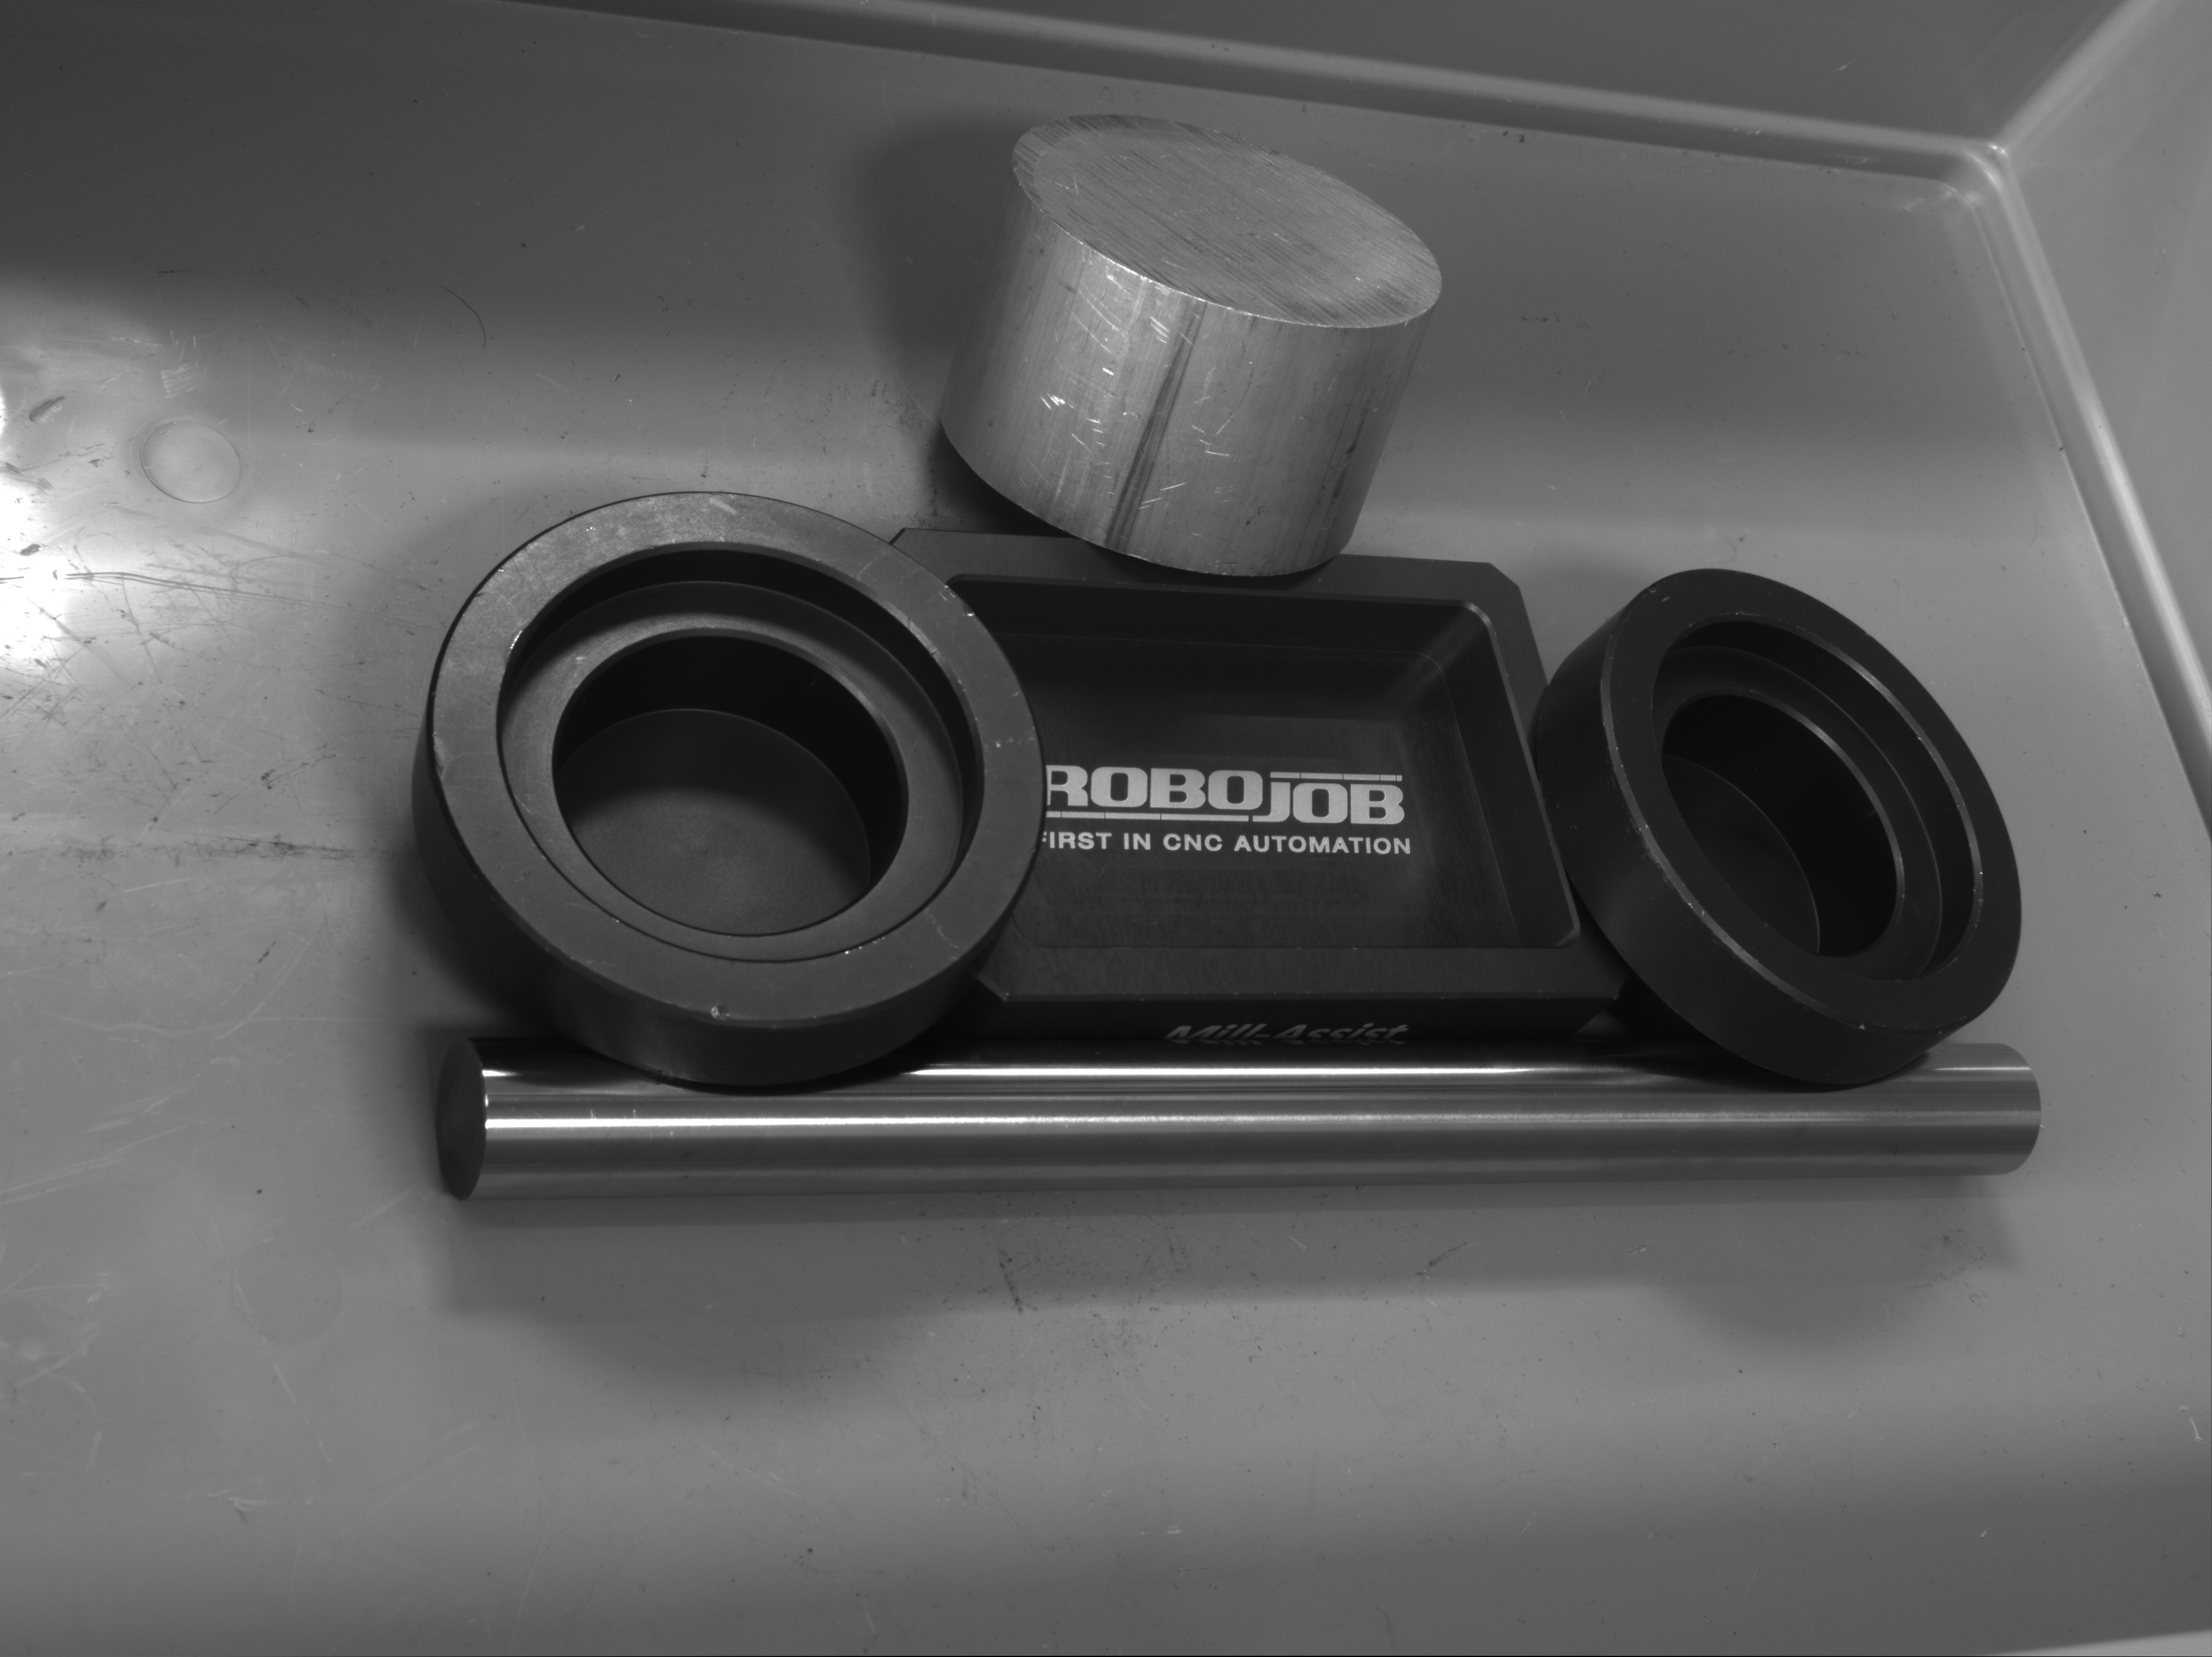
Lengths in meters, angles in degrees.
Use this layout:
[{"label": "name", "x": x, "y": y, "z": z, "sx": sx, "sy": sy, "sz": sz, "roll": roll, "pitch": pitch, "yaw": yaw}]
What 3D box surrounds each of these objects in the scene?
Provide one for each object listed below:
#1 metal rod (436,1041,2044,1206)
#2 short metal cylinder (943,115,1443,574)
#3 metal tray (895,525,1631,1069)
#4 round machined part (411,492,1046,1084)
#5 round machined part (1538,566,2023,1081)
[{"label": "metal rod", "x": 0.036, "y": 0.049, "z": 0.627, "sx": 0.301, "sy": 0.025, "sz": 0.025, "roll": 2, "pitch": 61, "yaw": -27}, {"label": "short metal cylinder", "x": 0.015, "y": -0.088, "z": 0.665, "sx": 0.080, "sy": 0.050, "sz": 0.080, "roll": 14, "pitch": 31, "yaw": -8}, {"label": "metal tray", "x": 0.022, "y": -0.005, "z": 0.648, "sx": 0.130, "sy": 0.030, "sz": 0.090, "roll": 1, "pitch": 62, "yaw": -28}, {"label": "round machined part", "x": -0.062, "y": -0.002, "z": 0.589, "sx": 0.098, "sy": 0.042, "sz": 0.098, "roll": 9, "pitch": 57, "yaw": -13}, {"label": "round machined part", "x": 0.119, "y": 0.003, "z": 0.682, "sx": 0.098, "sy": 0.042, "sz": 0.098, "roll": 20, "pitch": 50, "yaw": -25}]
